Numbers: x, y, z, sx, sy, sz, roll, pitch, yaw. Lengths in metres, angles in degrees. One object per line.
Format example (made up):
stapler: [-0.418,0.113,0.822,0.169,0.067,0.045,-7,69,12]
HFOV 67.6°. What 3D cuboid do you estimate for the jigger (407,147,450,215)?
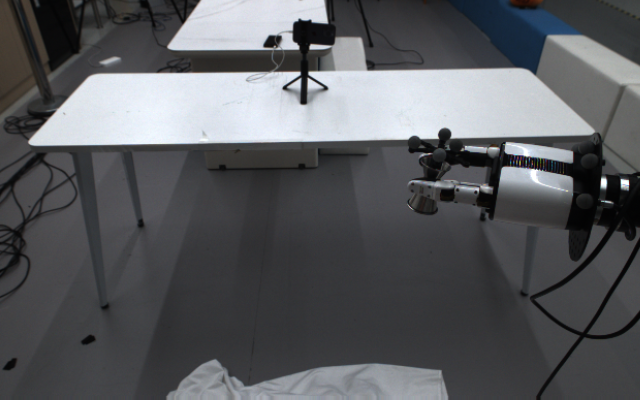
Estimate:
jigger: [0.146,-0.020,0.657,0.043,0.071,0.043,9,30,-6]
